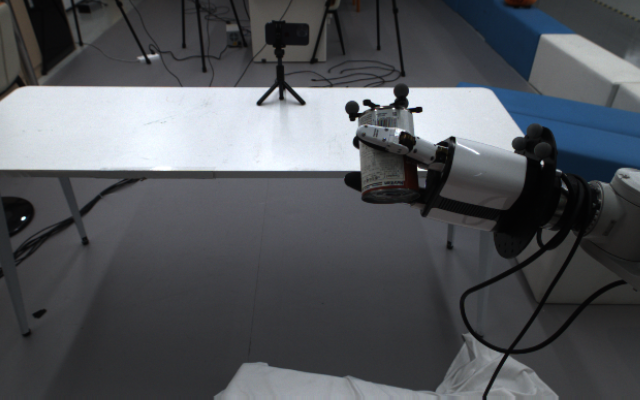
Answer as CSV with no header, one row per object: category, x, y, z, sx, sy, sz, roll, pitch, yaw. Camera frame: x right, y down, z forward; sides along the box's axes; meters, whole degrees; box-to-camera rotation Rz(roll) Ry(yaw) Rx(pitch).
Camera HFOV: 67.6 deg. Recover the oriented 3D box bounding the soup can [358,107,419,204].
soup can,0.081,-0.053,0.574,0.067,0.067,0.101,-1,76,-4
